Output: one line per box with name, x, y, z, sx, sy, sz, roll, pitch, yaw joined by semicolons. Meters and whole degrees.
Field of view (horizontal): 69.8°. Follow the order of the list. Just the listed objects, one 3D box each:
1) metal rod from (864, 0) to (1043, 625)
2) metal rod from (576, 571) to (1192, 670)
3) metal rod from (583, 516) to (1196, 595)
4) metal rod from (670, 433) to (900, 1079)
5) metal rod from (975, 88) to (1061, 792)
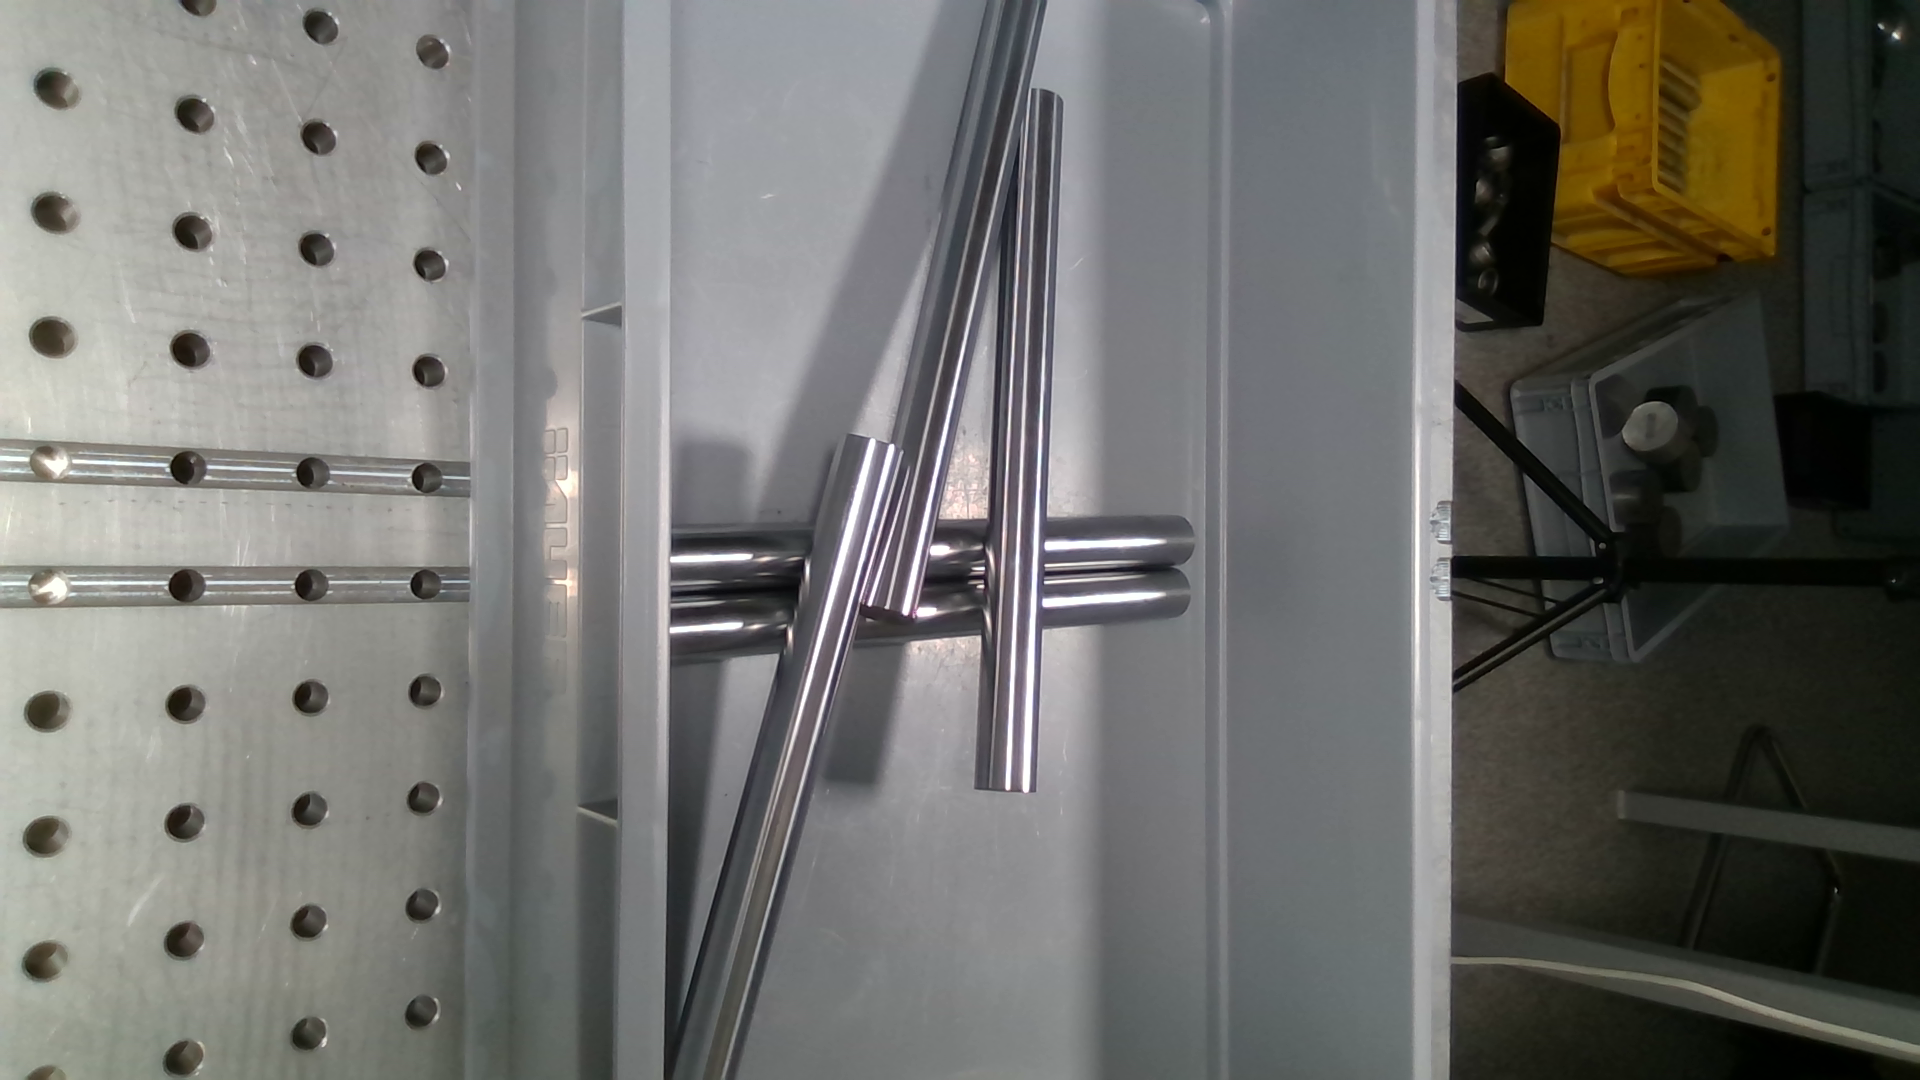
metal rod;-0.001;-0.112;0.564;0.025;0.025;0.299;25;69;-38
metal rod;-0.012;0.029;0.570;0.300;0.025;0.025;-1;91;-40
metal rod;-0.010;0.003;0.571;0.300;0.025;0.025;-2;91;-40
metal rod;-0.070;0.109;0.500;0.025;0.025;0.300;17;84;-39
metal rod;0.026;-0.047;0.578;0.025;0.025;0.299;13;75;-39
